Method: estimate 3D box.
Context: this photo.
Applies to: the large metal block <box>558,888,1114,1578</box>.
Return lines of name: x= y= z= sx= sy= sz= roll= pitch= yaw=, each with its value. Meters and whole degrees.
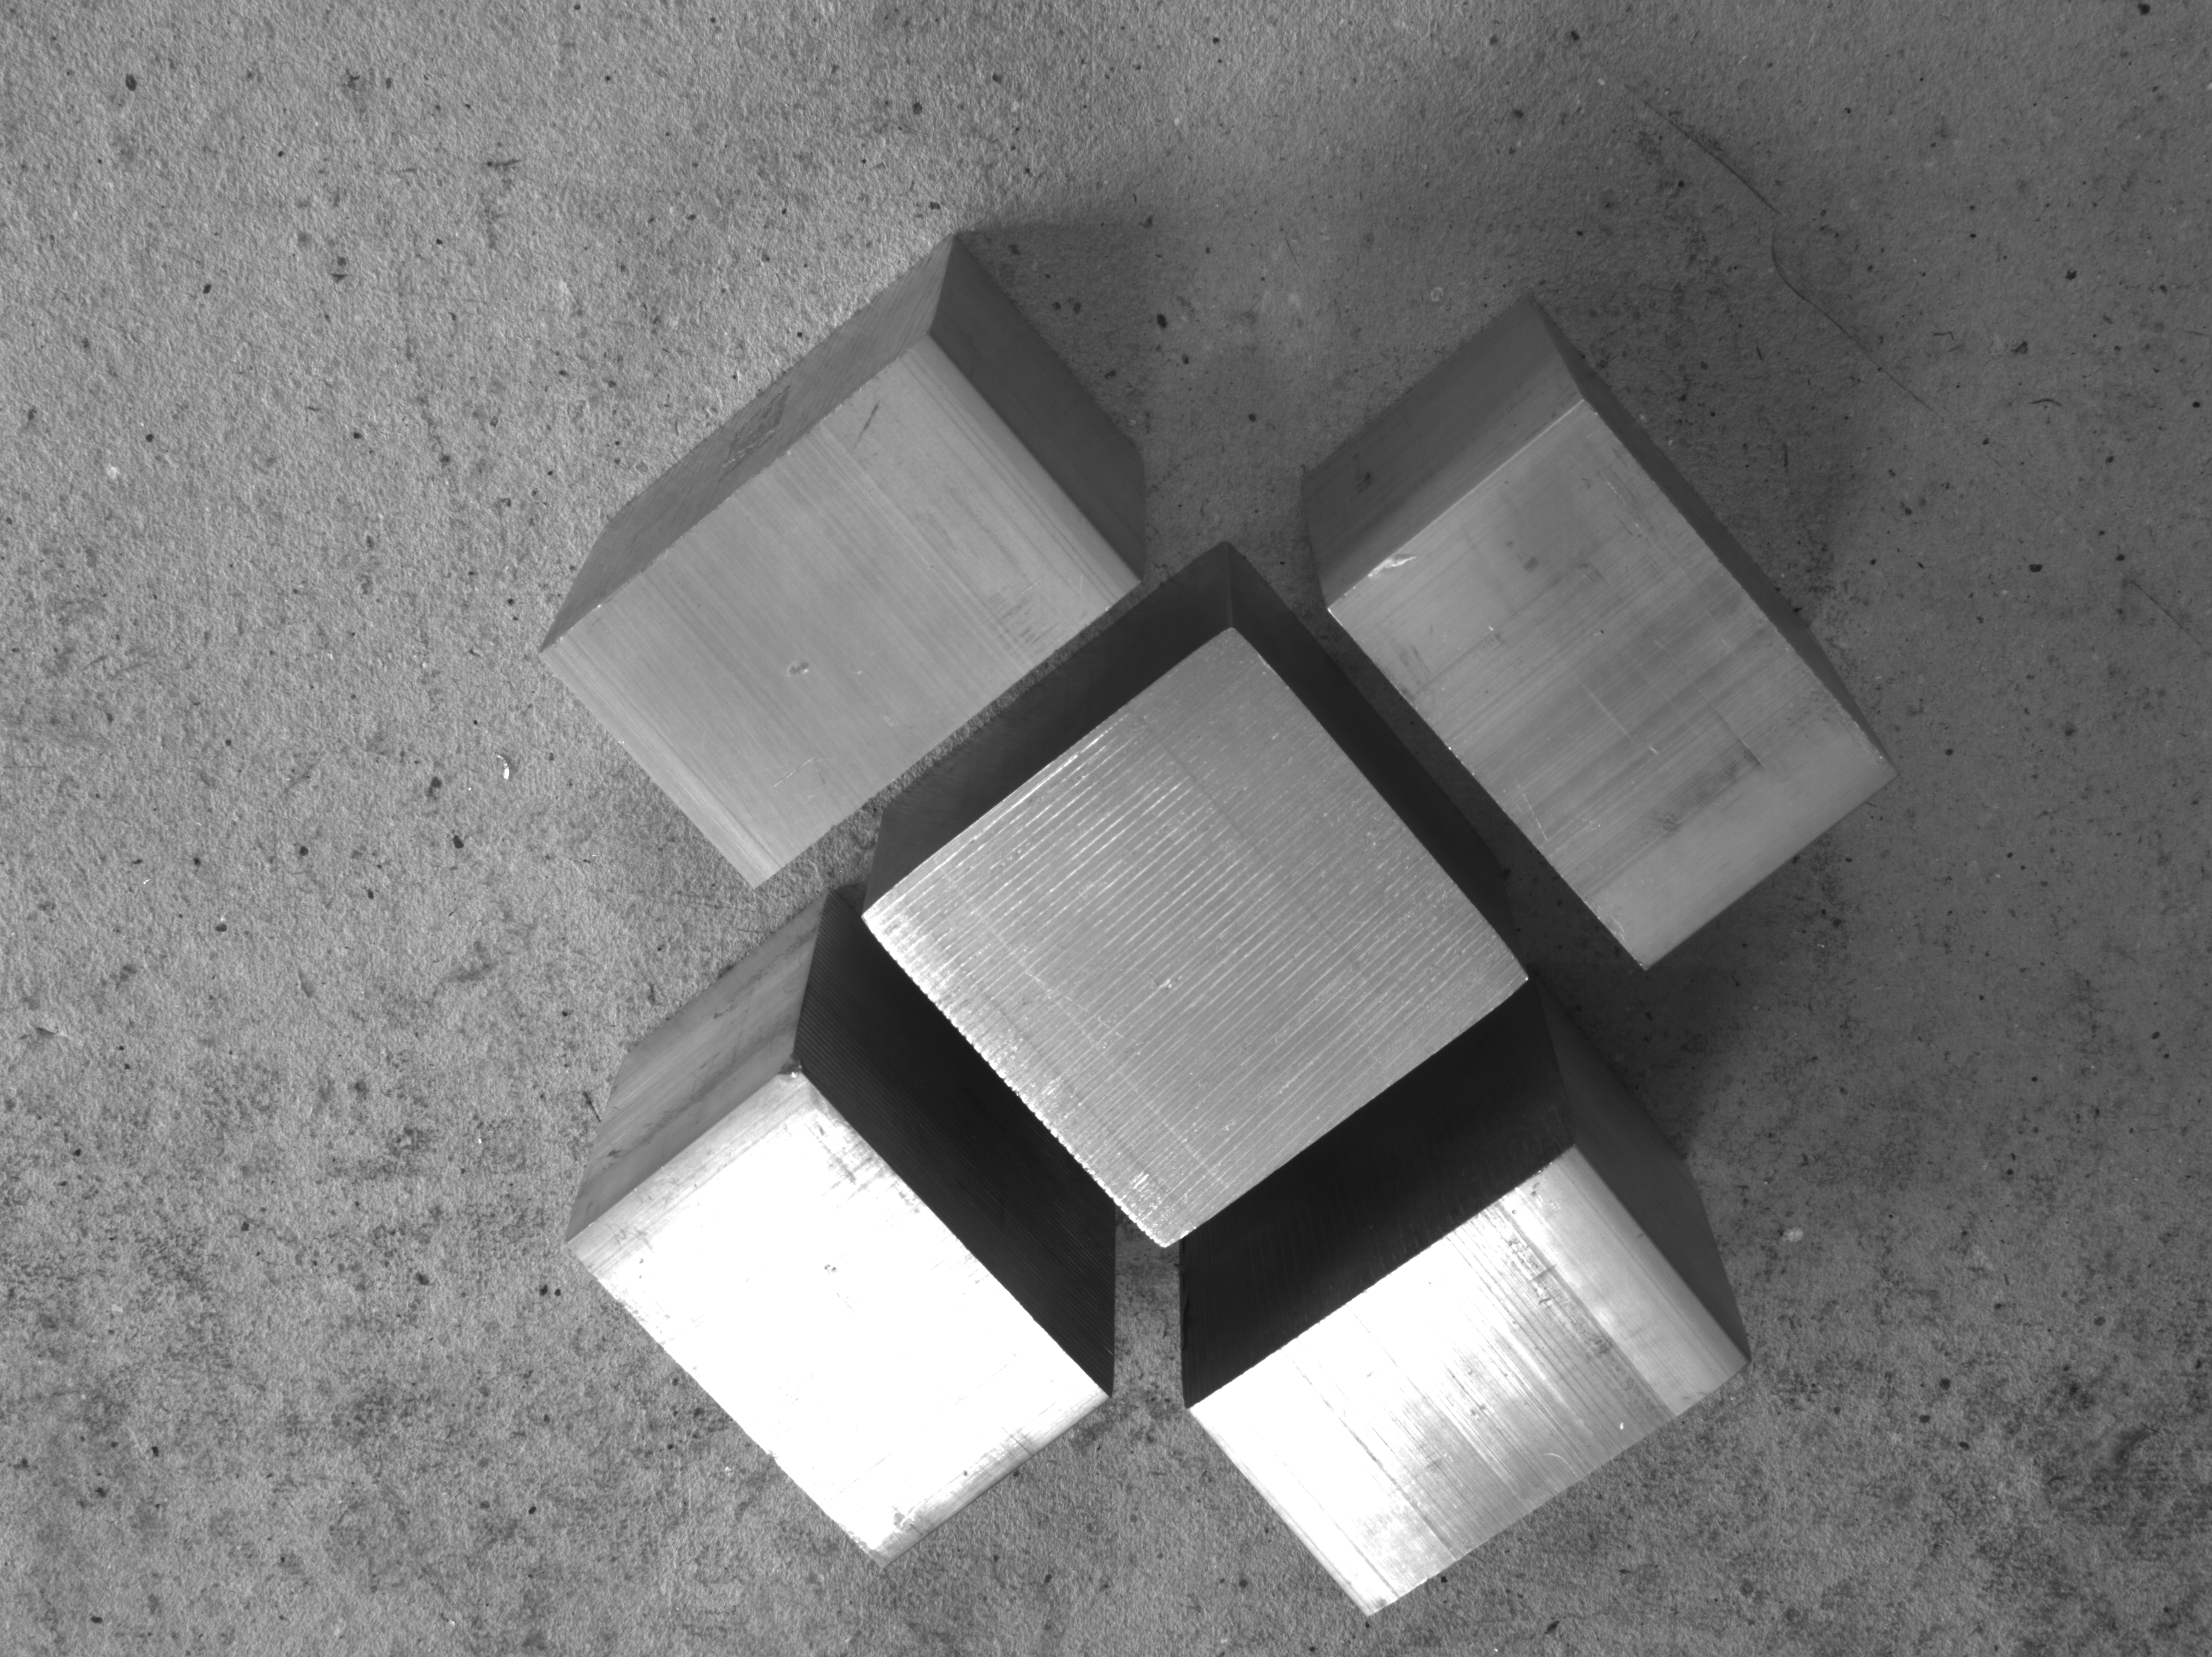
large metal block: x=-0.044 y=0.068 z=0.639 sx=0.050 sy=0.080 sz=0.080 roll=-38 pitch=105 yaw=13

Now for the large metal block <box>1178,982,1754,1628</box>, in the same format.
large metal block: x=0.060 y=0.080 z=0.643 sx=0.080 sy=0.080 sz=0.050 roll=-36 pitch=105 yaw=12

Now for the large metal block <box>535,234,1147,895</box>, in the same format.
large metal block: x=-0.040 y=-0.045 z=0.599 sx=0.080 sy=0.080 sz=0.050 roll=-38 pitch=105 yaw=12

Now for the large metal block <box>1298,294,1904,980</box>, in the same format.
large metal block: x=0.078 y=-0.033 z=0.603 sx=0.050 sy=0.080 sz=0.080 roll=-39 pitch=105 yaw=12

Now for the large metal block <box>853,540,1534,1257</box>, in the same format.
large metal block: x=0.015 y=0.012 z=0.632 sx=0.080 sy=0.050 sz=0.080 roll=-38 pitch=106 yaw=13
